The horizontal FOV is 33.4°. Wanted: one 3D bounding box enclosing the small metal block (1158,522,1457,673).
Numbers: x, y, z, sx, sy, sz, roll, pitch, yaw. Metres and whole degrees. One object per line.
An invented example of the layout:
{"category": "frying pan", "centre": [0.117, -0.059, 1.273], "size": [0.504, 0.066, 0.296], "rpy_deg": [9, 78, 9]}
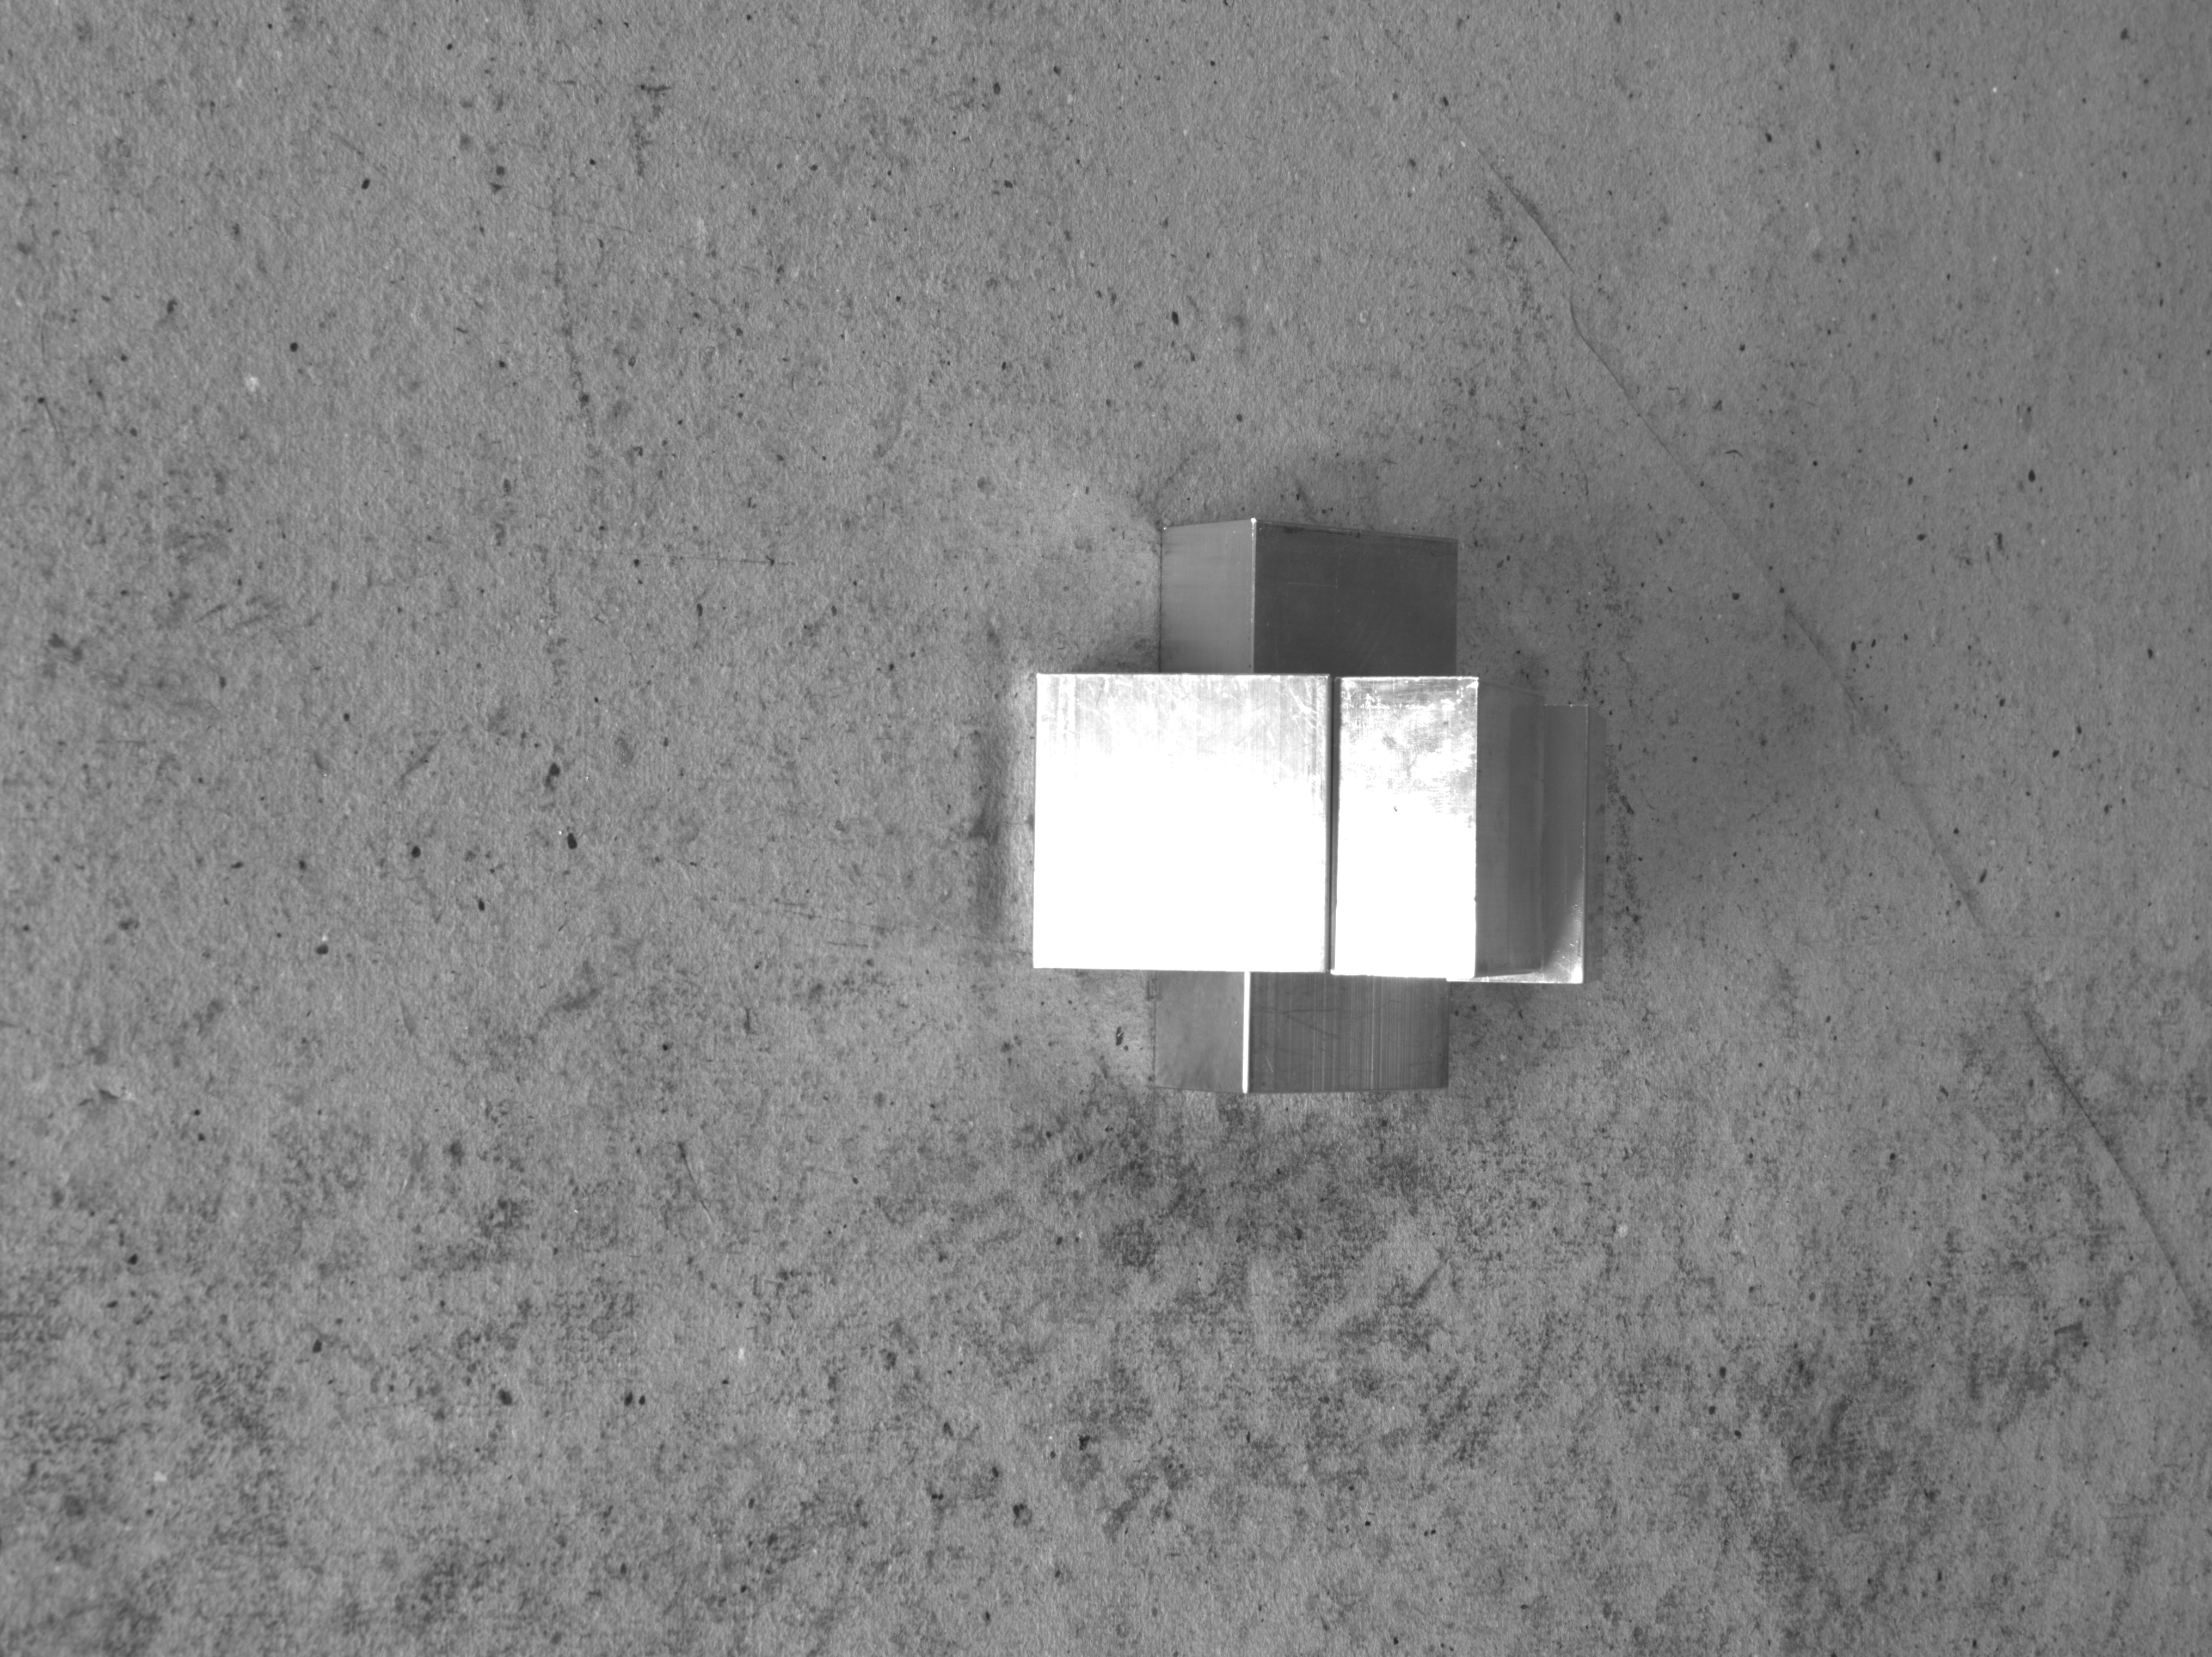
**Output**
{"category": "small metal block", "centre": [0.037, -0.028, 0.667], "size": [0.050, 0.025, 0.050], "rpy_deg": [1, 89, -40]}

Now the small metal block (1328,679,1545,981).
{"category": "small metal block", "centre": [0.058, 0.001, 0.638], "size": [0.050, 0.025, 0.050], "rpy_deg": [4, 87, -70]}

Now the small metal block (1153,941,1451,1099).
{"category": "small metal block", "centre": [0.036, 0.023, 0.666], "size": [0.050, 0.025, 0.050], "rpy_deg": [1, 89, -40]}

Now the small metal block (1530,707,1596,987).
{"category": "small metal block", "centre": [0.078, 0.004, 0.685], "size": [0.050, 0.025, 0.050], "rpy_deg": [5, 86, -79]}

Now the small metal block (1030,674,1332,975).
{"category": "small metal block", "centre": [0.014, -0.001, 0.631], "size": [0.025, 0.050, 0.050], "rpy_deg": [4, 87, -82]}
